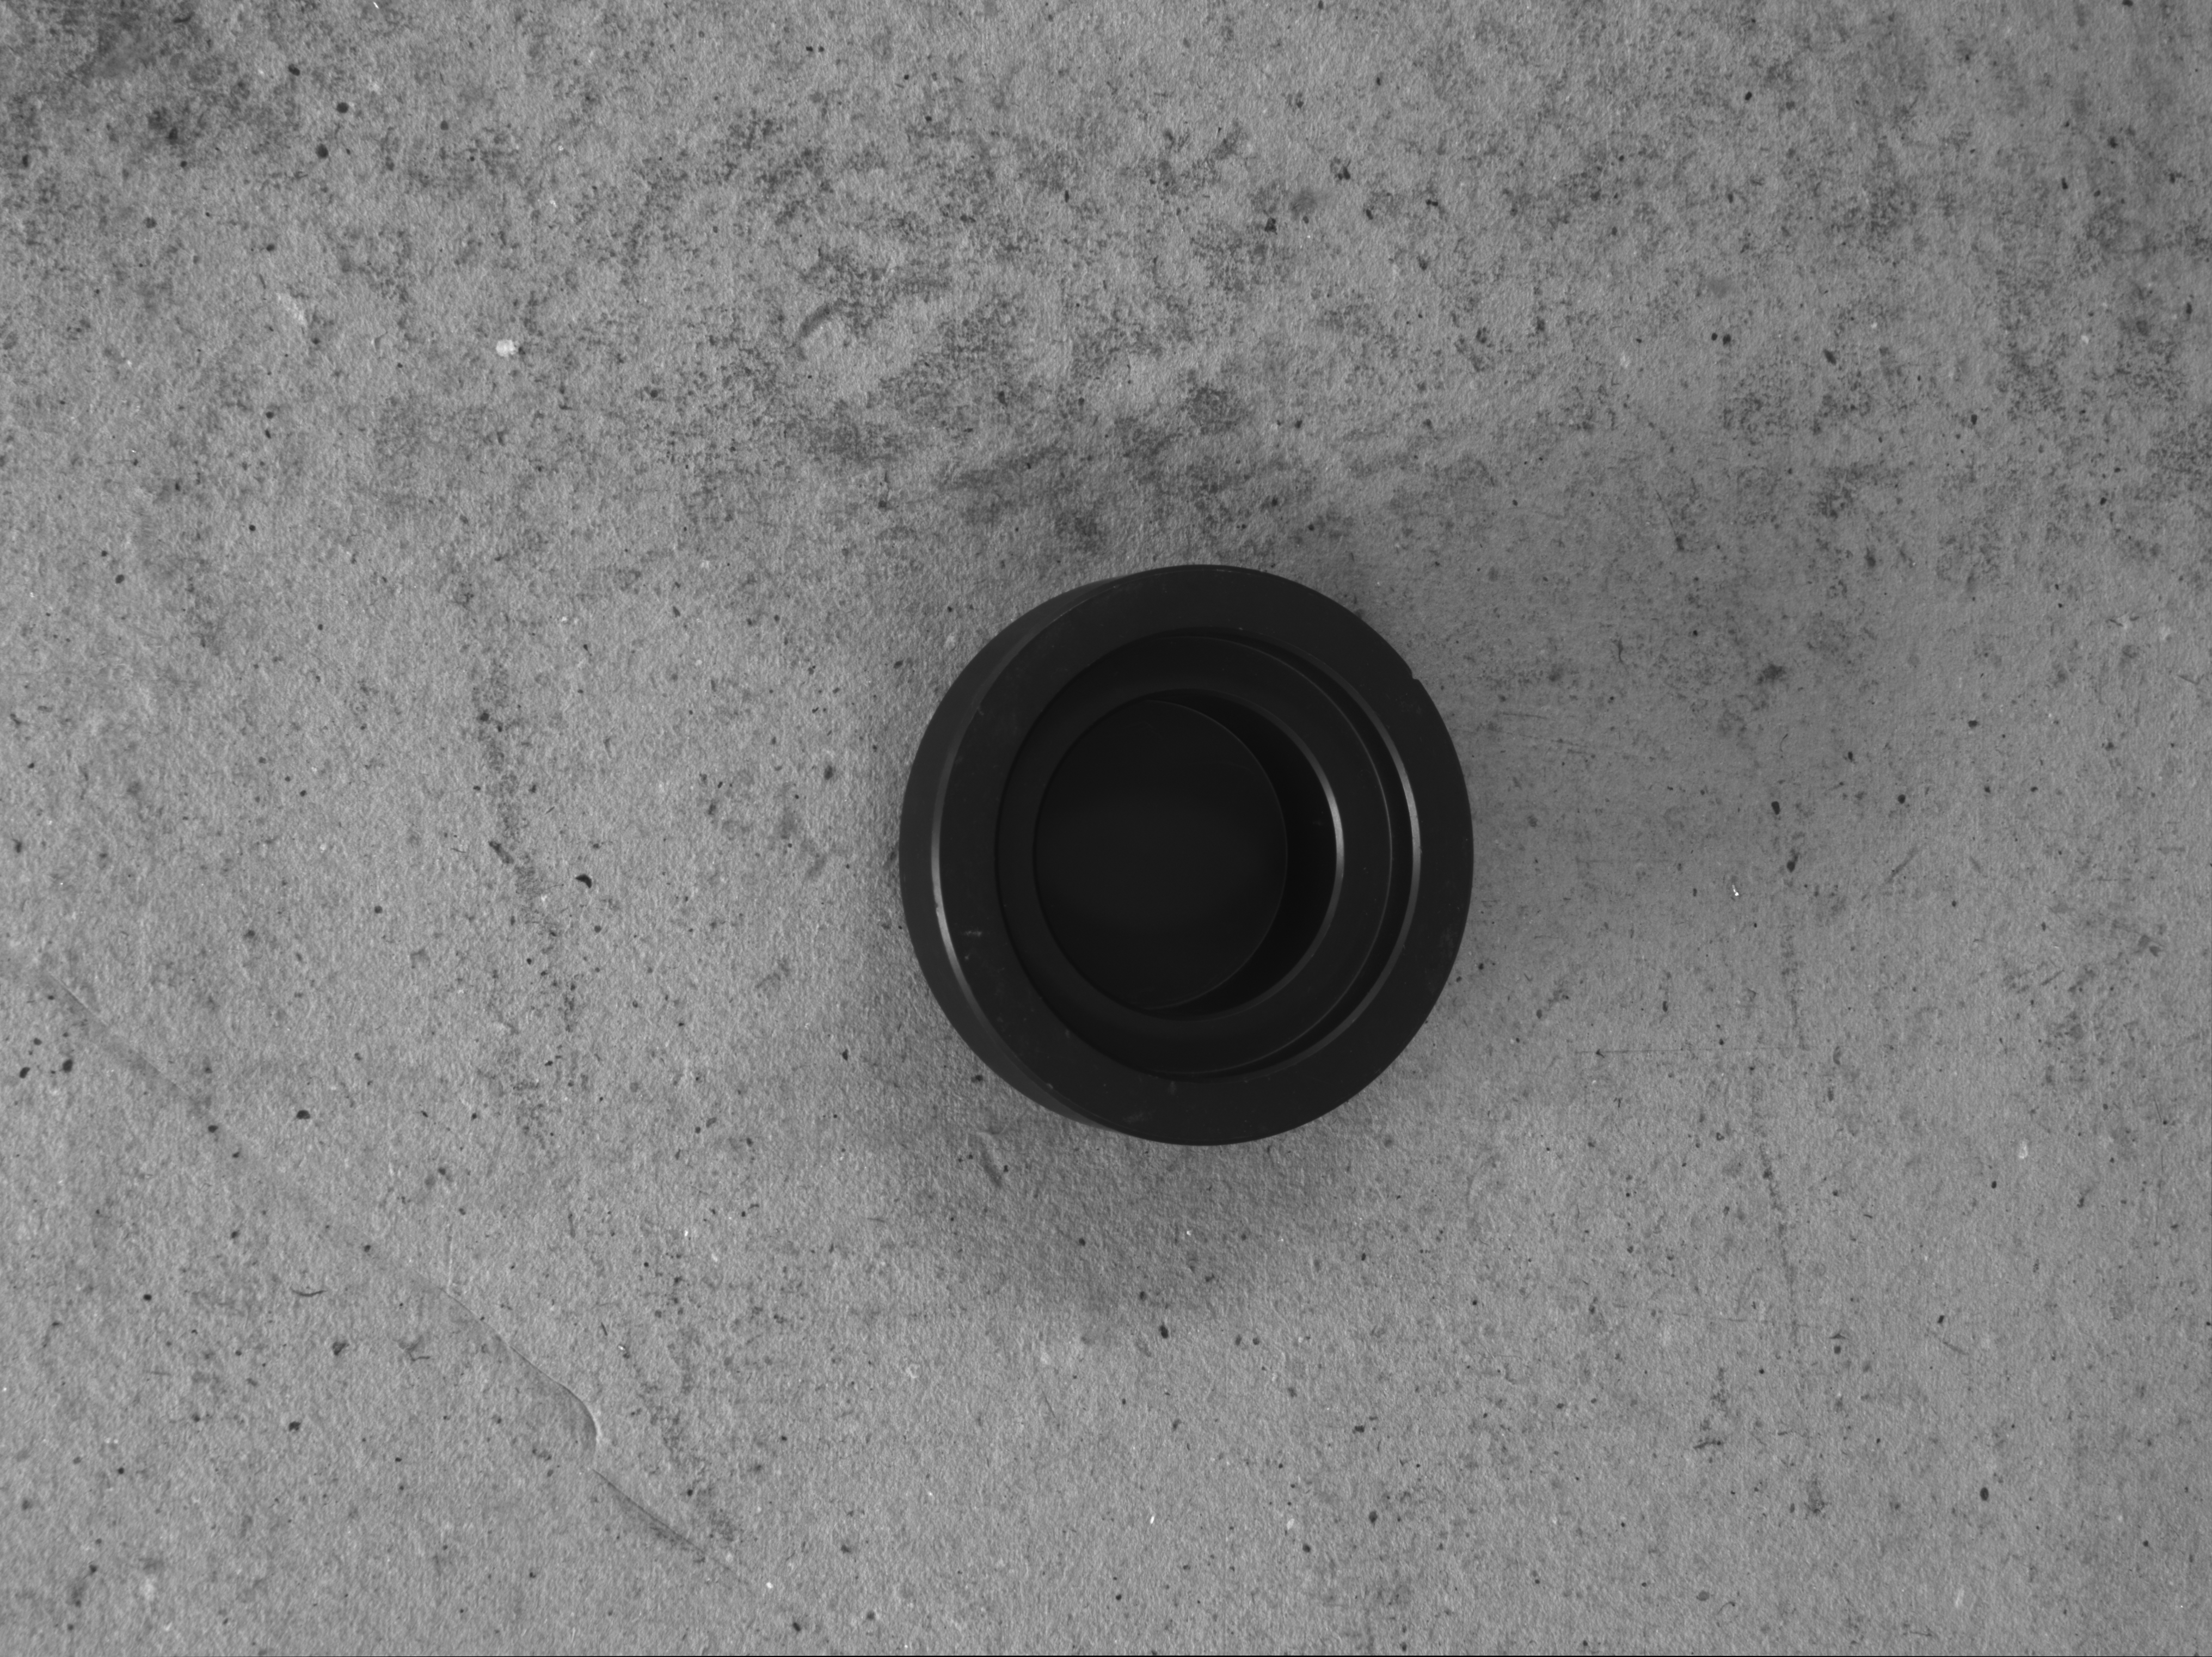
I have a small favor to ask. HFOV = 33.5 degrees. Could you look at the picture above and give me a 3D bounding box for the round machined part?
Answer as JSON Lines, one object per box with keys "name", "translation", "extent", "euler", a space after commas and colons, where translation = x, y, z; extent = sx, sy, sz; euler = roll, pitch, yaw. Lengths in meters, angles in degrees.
{"name": "round machined part", "translation": [0.011, 0.005, 0.639], "extent": [0.098, 0.042, 0.098], "euler": [0, 90, -20]}
